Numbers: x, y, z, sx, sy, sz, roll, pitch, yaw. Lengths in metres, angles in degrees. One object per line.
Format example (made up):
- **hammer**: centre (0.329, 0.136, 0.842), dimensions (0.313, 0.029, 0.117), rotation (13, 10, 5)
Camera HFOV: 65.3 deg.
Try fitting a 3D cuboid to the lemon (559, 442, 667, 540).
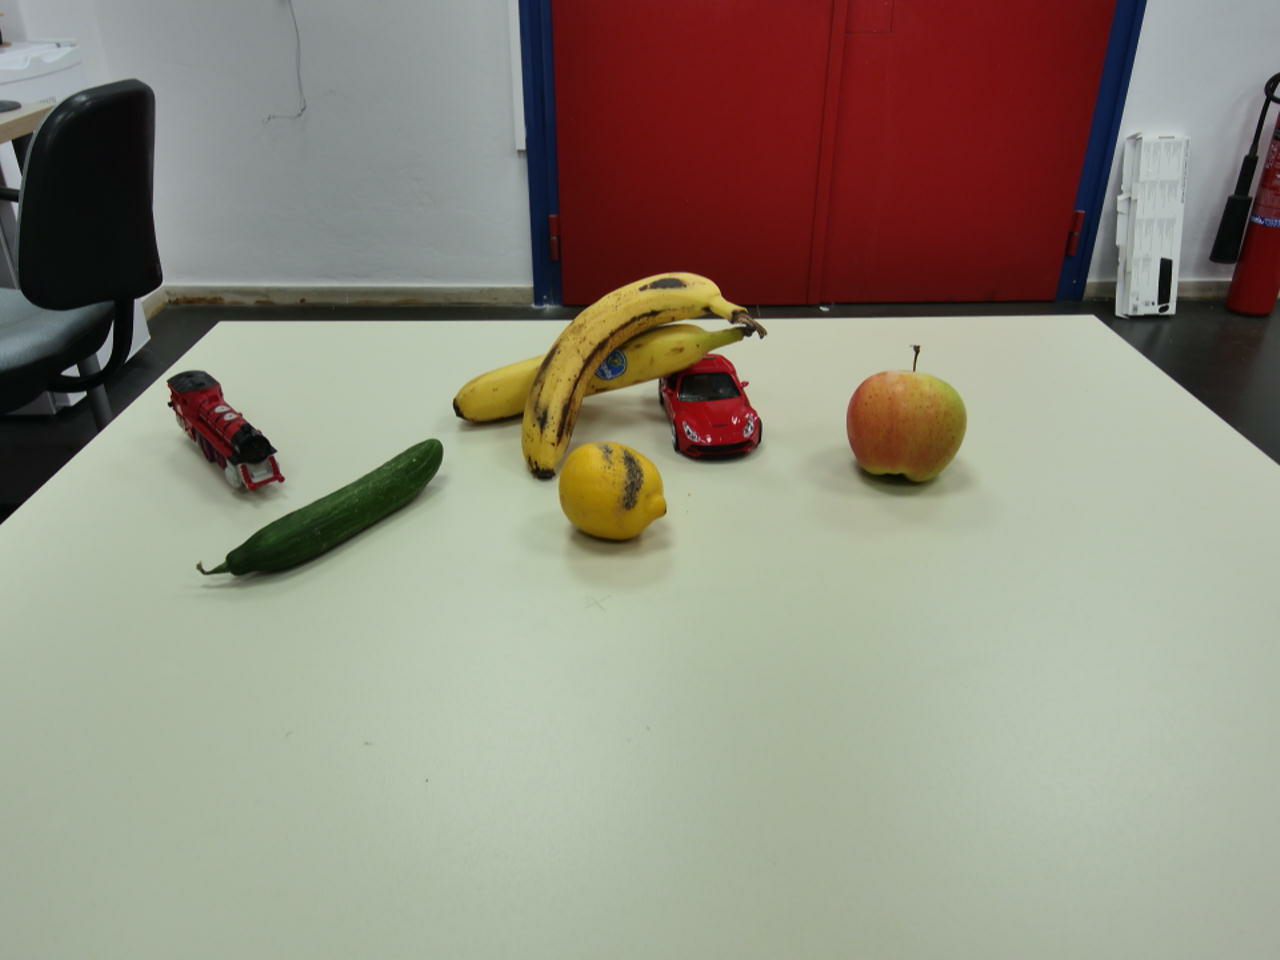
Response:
- **lemon**: centre (-0.017, 0.006, 0.586), dimensions (0.061, 0.056, 0.058), rotation (-4, 27, -7)
